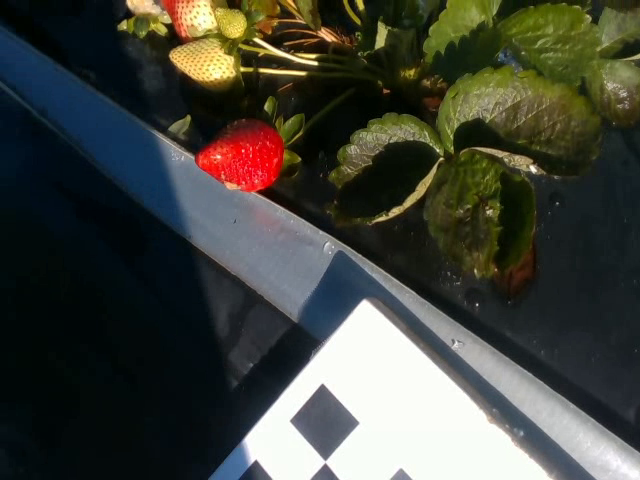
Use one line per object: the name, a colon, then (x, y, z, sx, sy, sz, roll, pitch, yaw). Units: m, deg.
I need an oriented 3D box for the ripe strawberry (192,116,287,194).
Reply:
ripe strawberry: (-0.036, -0.034, 0.241, 0.036, 0.038, 0.045, 41, 26, 22)
